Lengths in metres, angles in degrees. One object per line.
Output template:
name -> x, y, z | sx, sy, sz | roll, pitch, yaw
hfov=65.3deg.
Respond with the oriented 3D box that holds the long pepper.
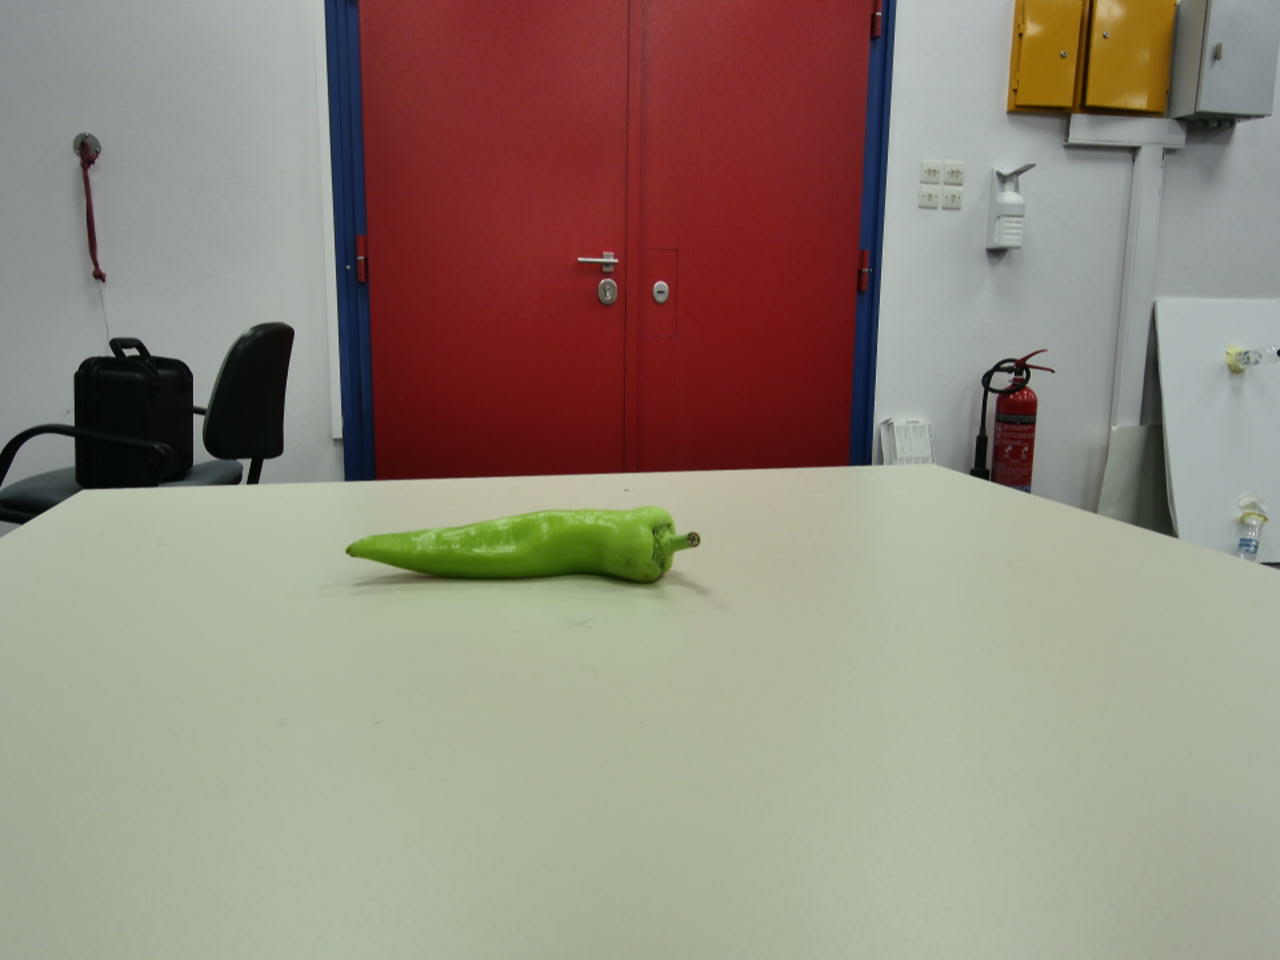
long pepper -> -0.065, 0.038, 0.600 | 0.205, 0.045, 0.065 | 0, 8, 3
